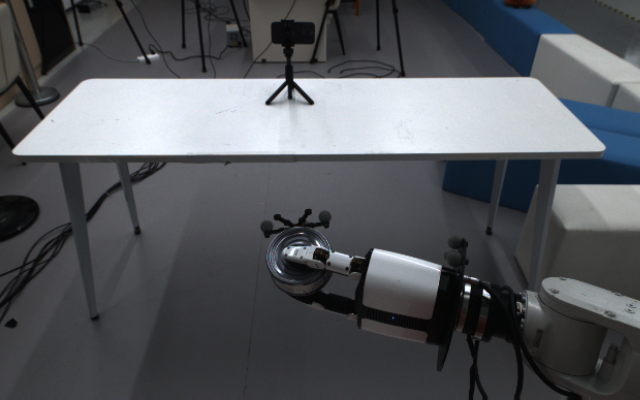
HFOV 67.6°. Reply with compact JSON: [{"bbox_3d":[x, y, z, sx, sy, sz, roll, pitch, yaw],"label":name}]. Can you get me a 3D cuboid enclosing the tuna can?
[{"bbox_3d":[-0.021,0.084,0.620,0.085,0.034,0.085,-3,59,5],"label":"tuna can"}]
